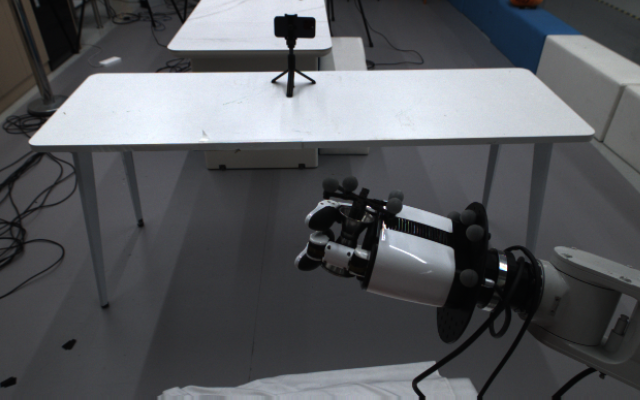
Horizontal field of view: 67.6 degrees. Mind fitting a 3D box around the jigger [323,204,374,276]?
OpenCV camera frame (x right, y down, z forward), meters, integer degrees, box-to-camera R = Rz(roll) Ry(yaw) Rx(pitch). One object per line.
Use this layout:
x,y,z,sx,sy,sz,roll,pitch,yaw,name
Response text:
0.034,0.046,0.544,0.043,0.071,0.043,15,17,-5,jigger
